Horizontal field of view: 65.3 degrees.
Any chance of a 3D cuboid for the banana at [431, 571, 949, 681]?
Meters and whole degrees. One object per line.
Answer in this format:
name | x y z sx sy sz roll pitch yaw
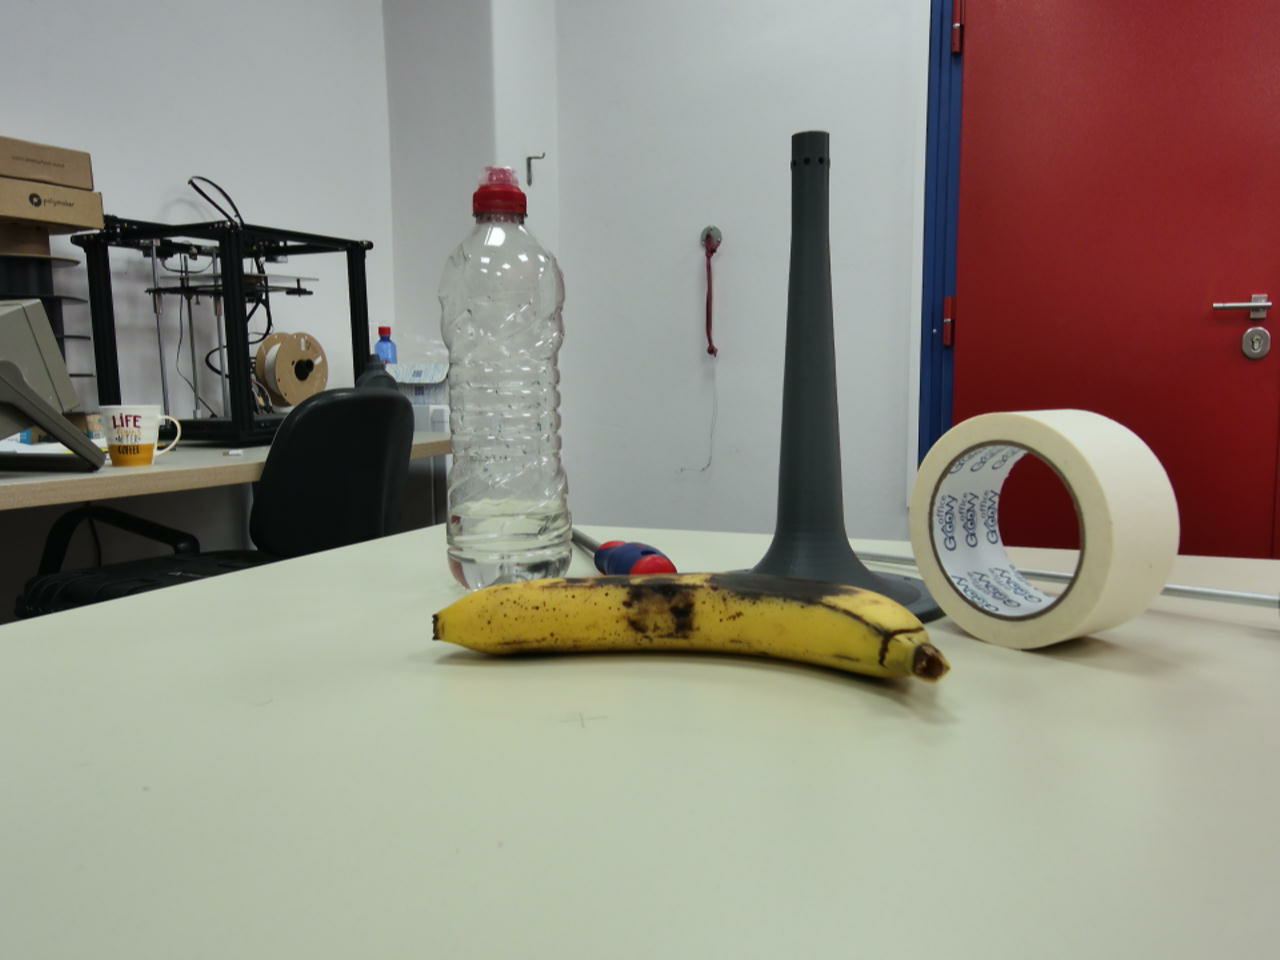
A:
banana | 0.023 0.061 0.431 0.222 0.037 0.084 2 4 25
